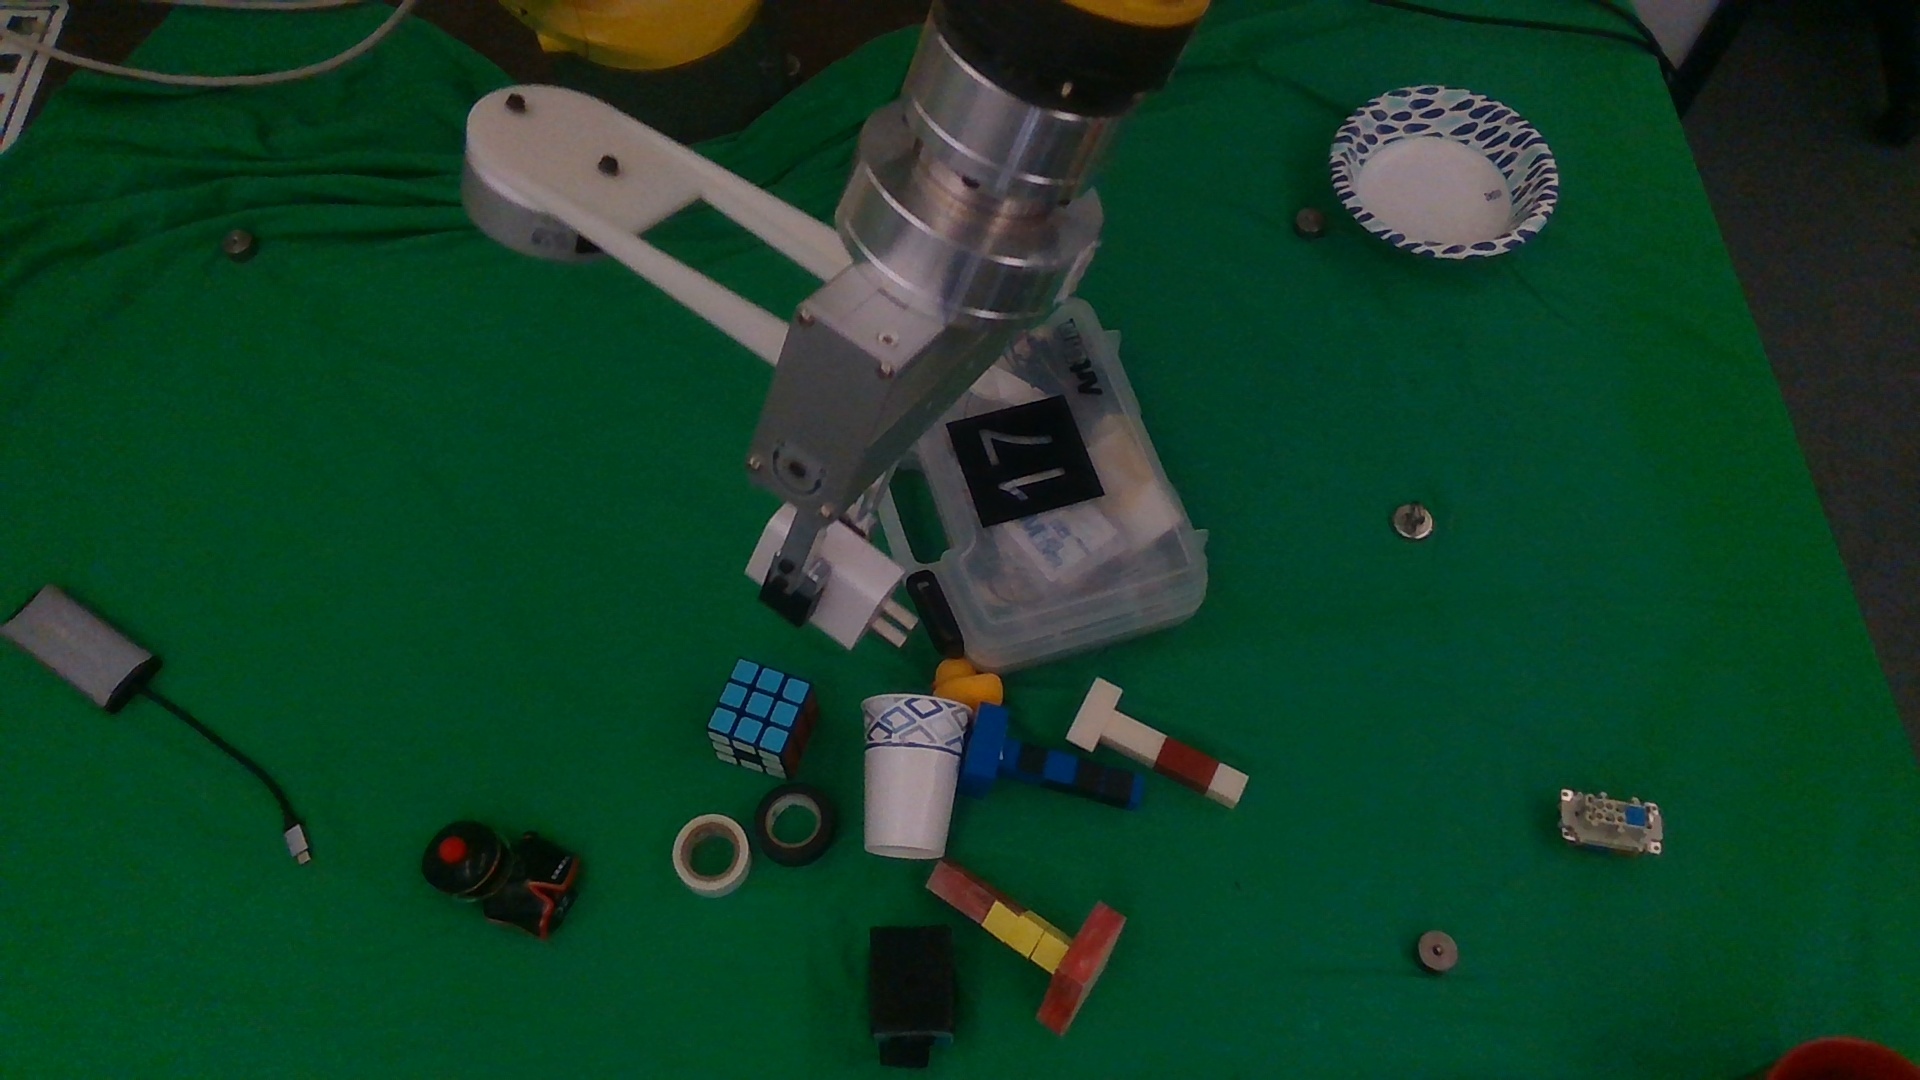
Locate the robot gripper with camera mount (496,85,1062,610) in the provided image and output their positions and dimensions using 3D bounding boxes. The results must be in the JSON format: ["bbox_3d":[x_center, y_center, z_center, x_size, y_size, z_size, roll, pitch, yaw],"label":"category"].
[{"bbox_3d":[-0.094,-0.081,0.505,0.194,0.159,0.118,34,46,14],"label":"robot gripper with camera mount"}]

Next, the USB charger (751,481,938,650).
[{"bbox_3d":[-0.042,0.013,0.531,0.075,0.045,0.029,38,47,6],"label":"USB charger"}]
